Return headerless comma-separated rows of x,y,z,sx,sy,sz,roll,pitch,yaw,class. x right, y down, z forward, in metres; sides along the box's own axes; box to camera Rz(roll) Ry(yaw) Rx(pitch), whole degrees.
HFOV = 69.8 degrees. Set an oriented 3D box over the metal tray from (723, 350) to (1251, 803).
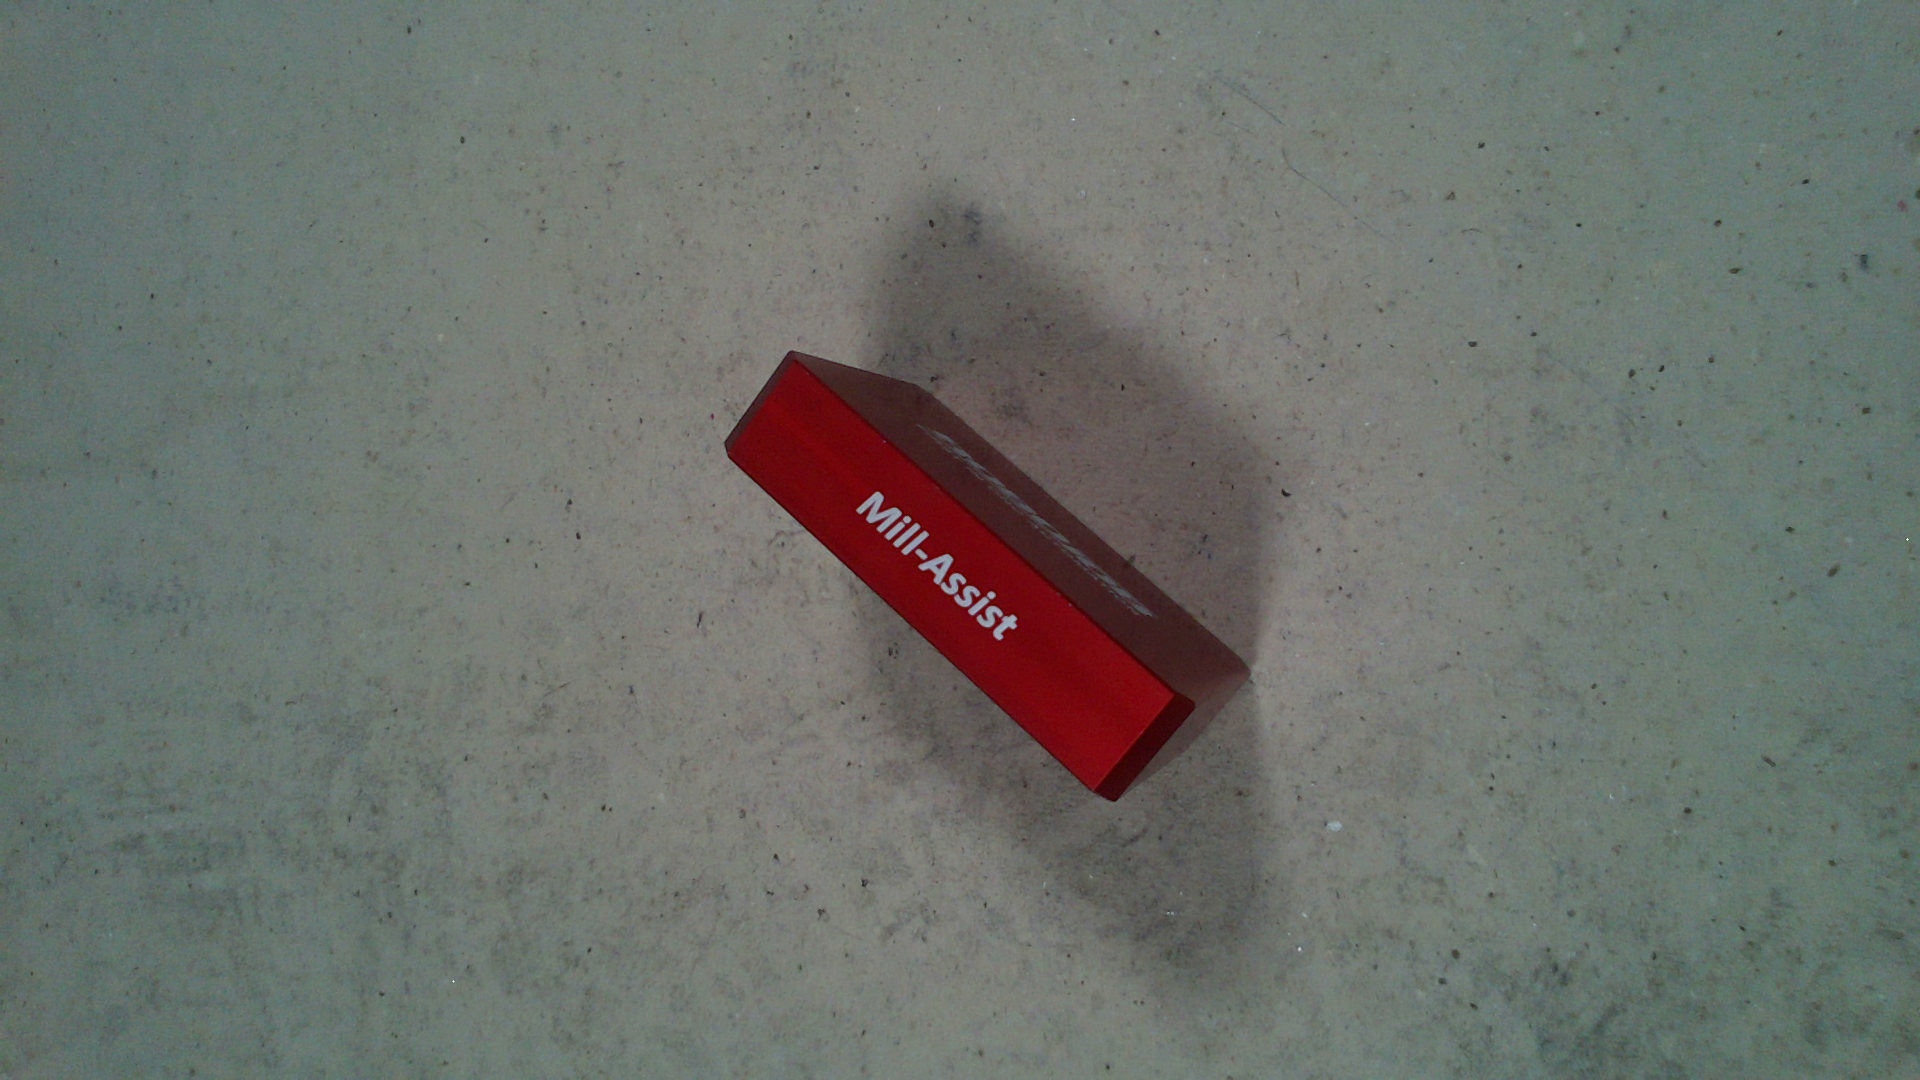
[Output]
0.011,0.006,0.358,0.130,0.090,0.030,41,103,15,metal tray
